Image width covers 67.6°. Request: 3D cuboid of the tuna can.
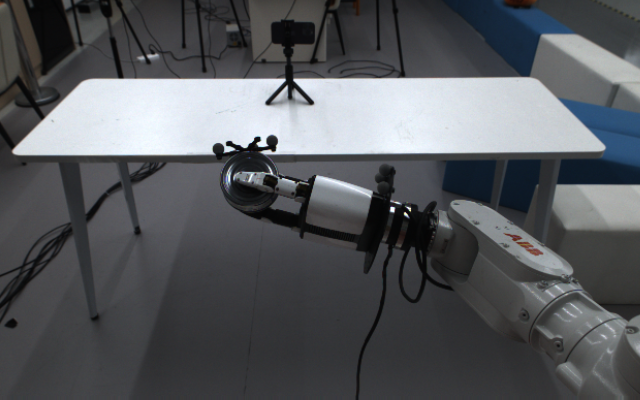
[{"bbox_3d":[-0.097,-0.021,0.696,0.085,0.034,0.085,0,72,-1],"label":"tuna can"}]
